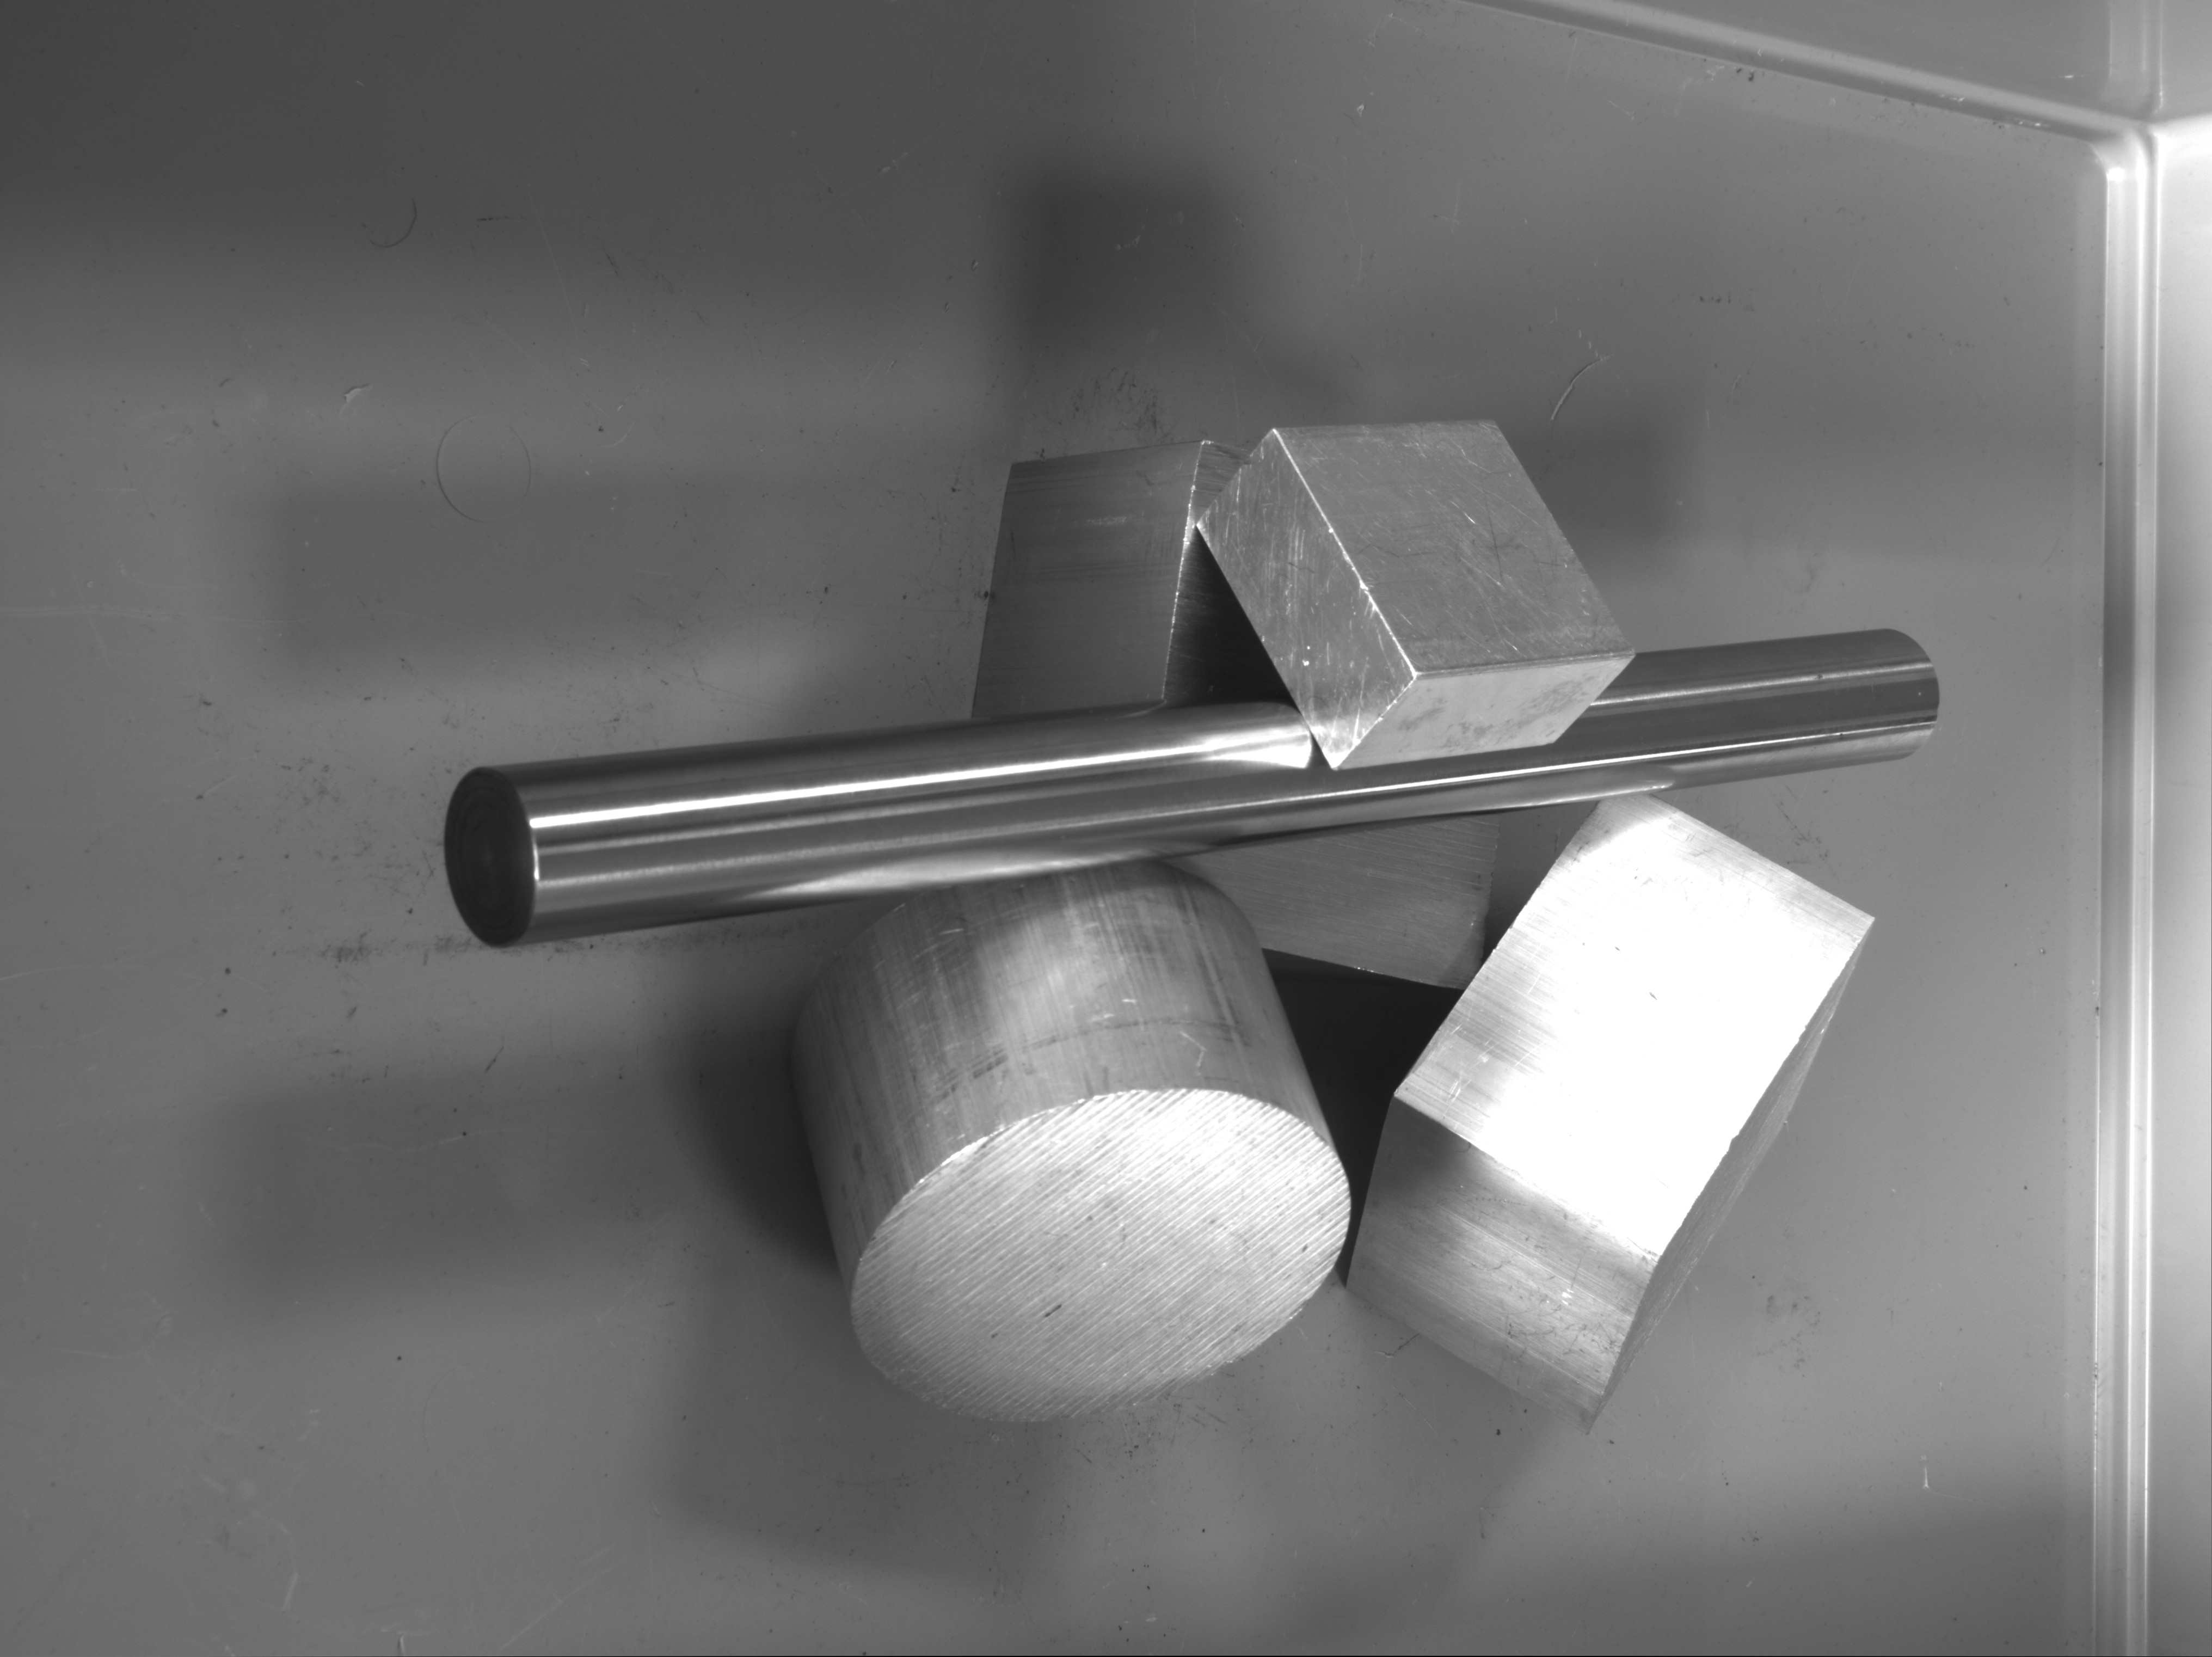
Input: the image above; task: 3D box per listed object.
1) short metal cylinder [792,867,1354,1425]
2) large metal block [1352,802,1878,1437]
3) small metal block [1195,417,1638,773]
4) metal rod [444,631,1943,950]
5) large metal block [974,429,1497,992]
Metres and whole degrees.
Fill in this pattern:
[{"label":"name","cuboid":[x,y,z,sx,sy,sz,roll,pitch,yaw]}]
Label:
[{"label":"short metal cylinder","cuboid":[-0.006,0.050,0.586,0.080,0.080,0.050,25,32,-37]},{"label":"large metal block","cuboid":[0.091,0.051,0.666,0.080,0.050,0.080,-52,164,-27]},{"label":"small metal block","cuboid":[0.050,-0.039,0.596,0.050,0.025,0.050,-7,60,-39]},{"label":"metal rod","cuboid":[0.032,-0.010,0.596,0.301,0.025,0.025,-7,94,-39]},{"label":"large metal block","cuboid":[0.024,-0.018,0.638,0.080,0.050,0.080,14,81,-39]}]
